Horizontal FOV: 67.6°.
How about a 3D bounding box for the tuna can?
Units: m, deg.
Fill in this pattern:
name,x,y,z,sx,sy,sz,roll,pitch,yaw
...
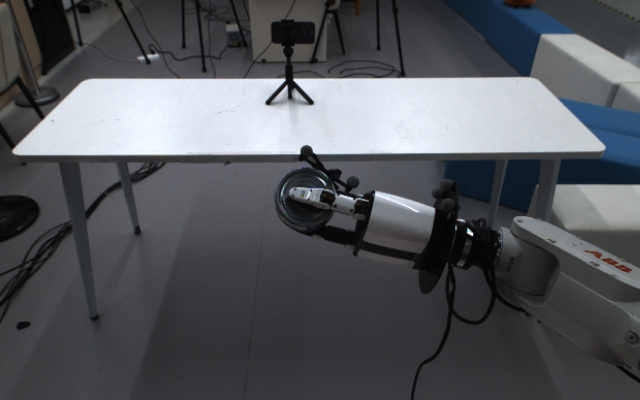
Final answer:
name,x,y,z,sx,sy,sz,roll,pitch,yaw
tuna can,-0.019,-0.002,0.667,0.085,0.034,0.085,0,74,0
